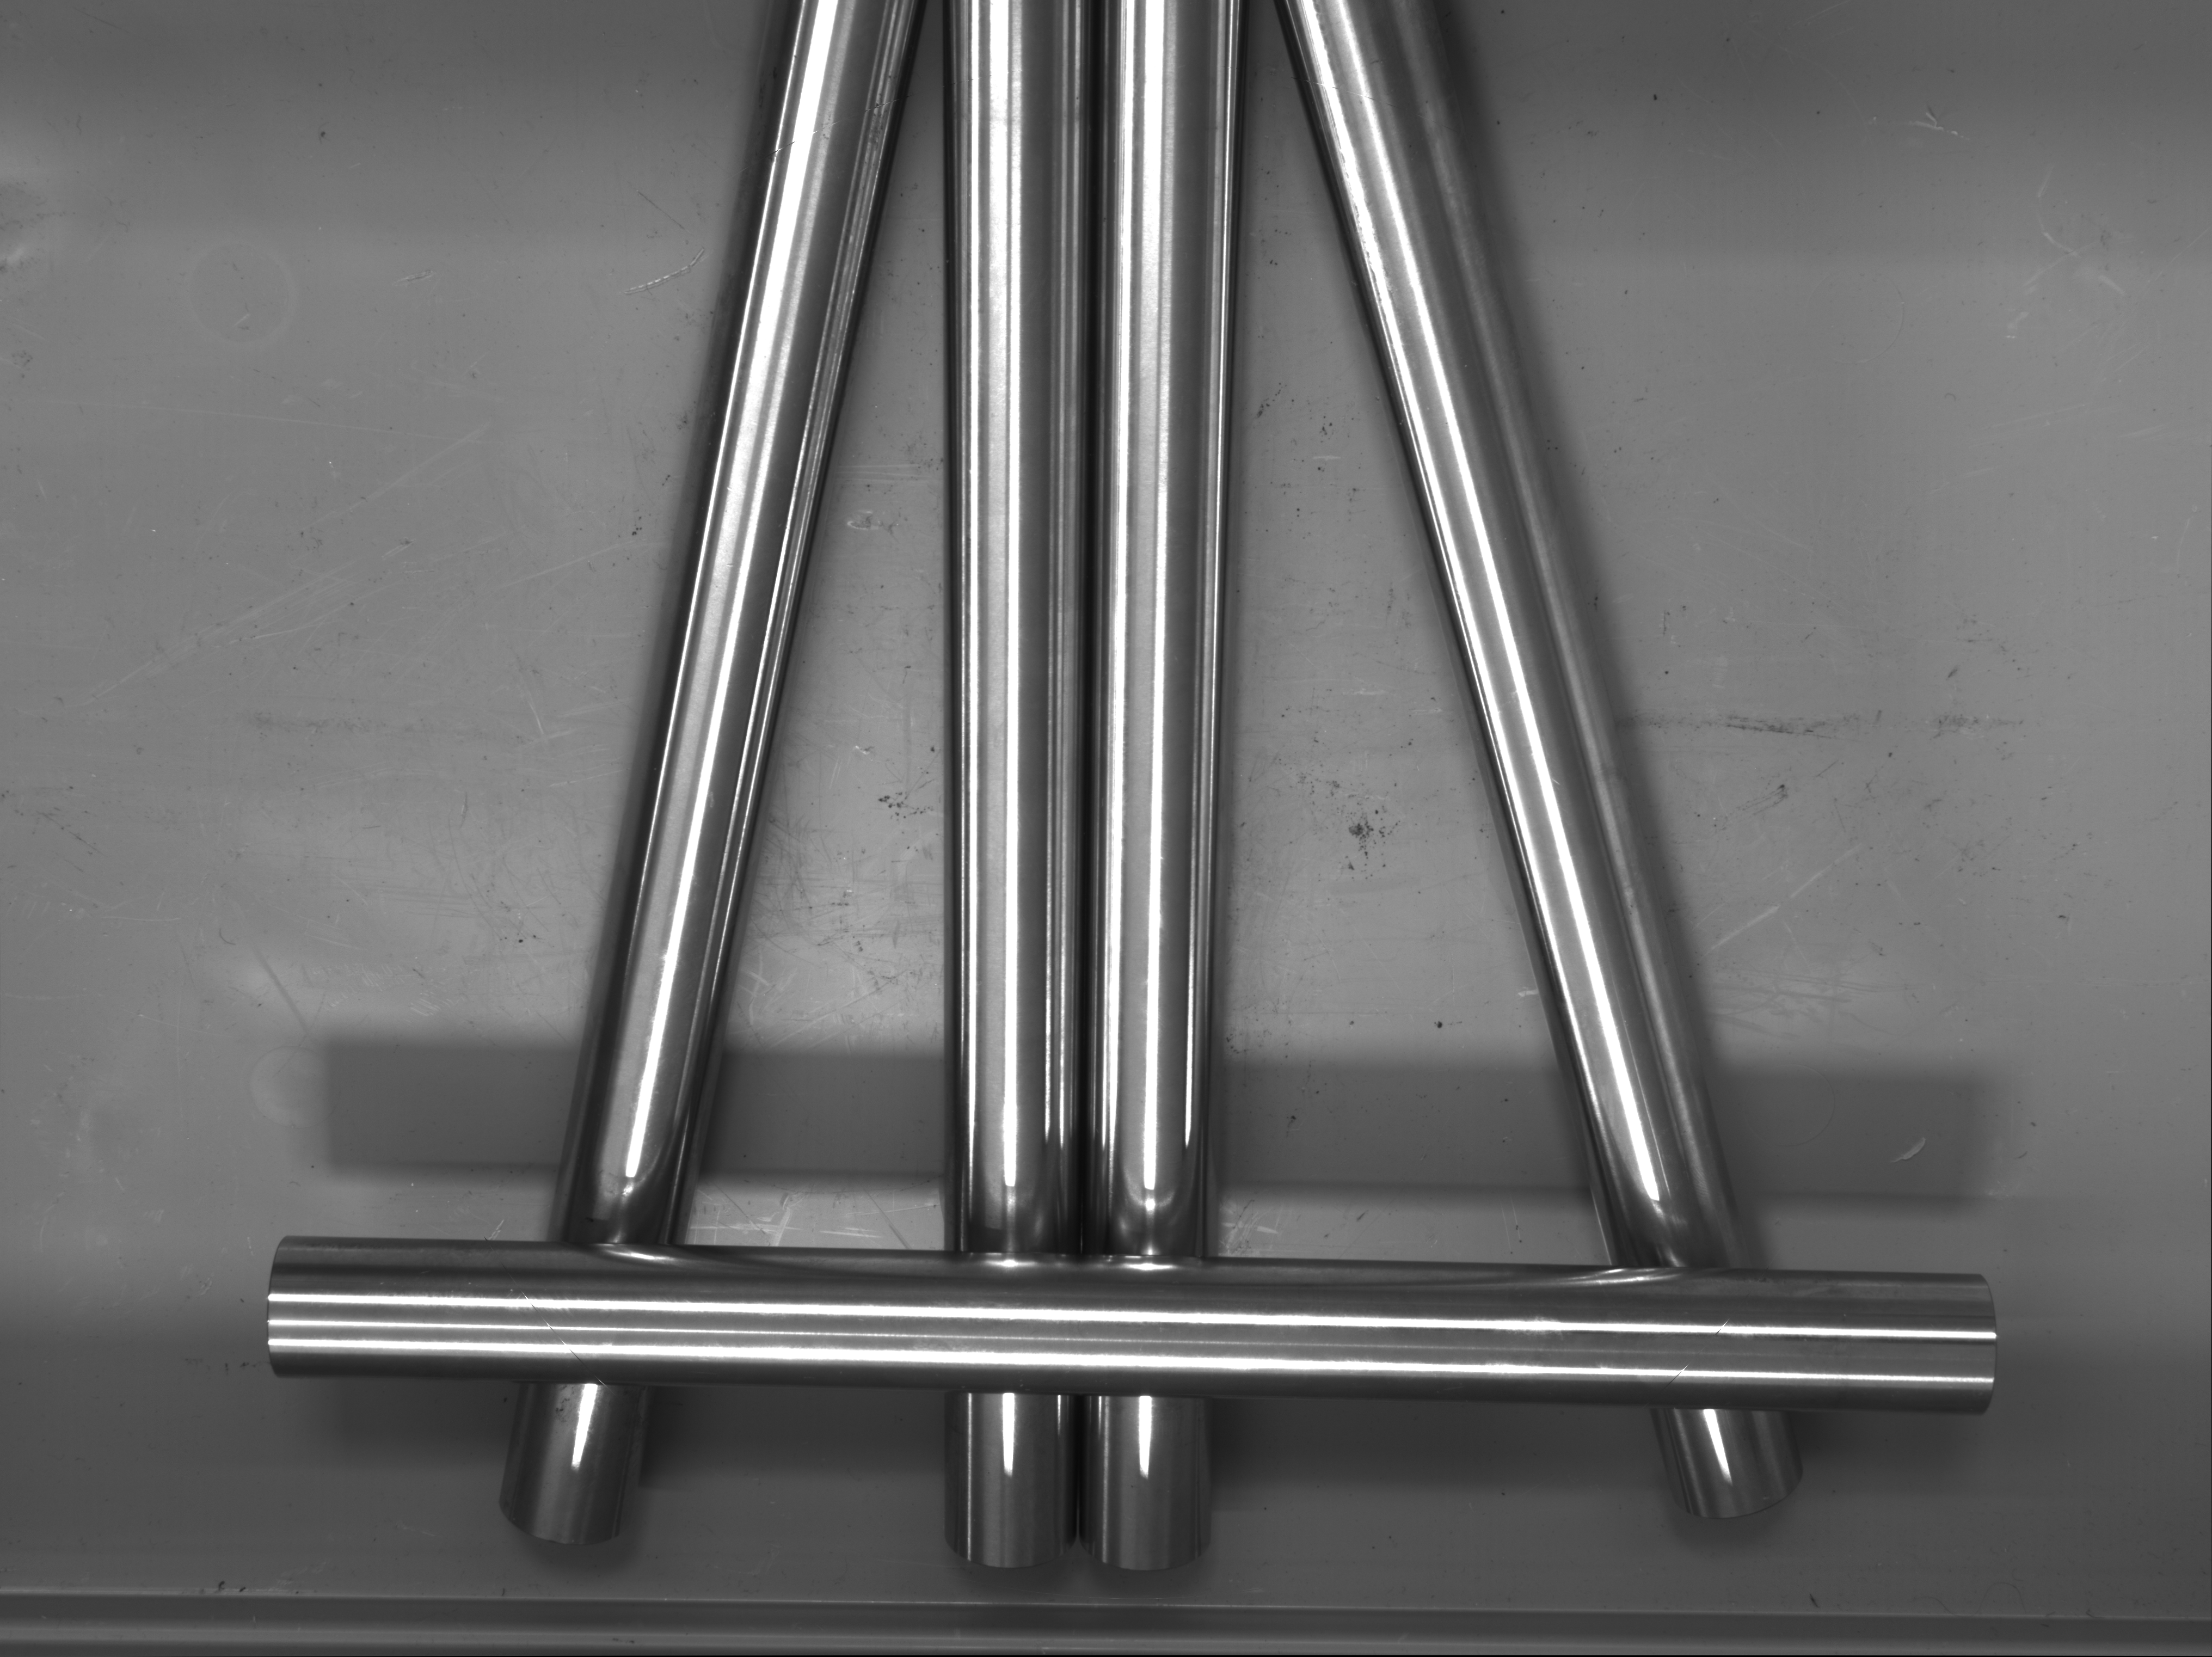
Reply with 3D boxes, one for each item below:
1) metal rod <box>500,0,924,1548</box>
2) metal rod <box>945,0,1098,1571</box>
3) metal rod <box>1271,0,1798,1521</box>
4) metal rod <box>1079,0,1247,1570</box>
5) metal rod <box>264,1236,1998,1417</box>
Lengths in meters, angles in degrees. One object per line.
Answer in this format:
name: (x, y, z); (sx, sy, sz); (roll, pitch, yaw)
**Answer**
metal rod: (-0.070, -0.010, 0.639); (0.025, 0.025, 0.300); (11, 110, -4)
metal rod: (-0.015, -0.008, 0.640); (0.025, 0.025, 0.300); (1, 110, 0)
metal rod: (0.076, -0.013, 0.638); (0.025, 0.025, 0.300); (-15, 109, 5)
metal rod: (0.009, -0.008, 0.640); (0.025, 0.025, 0.300); (1, 110, 0)
metal rod: (0.005, 0.088, 0.647); (0.300, 0.025, 0.025); (1, 110, 0)
